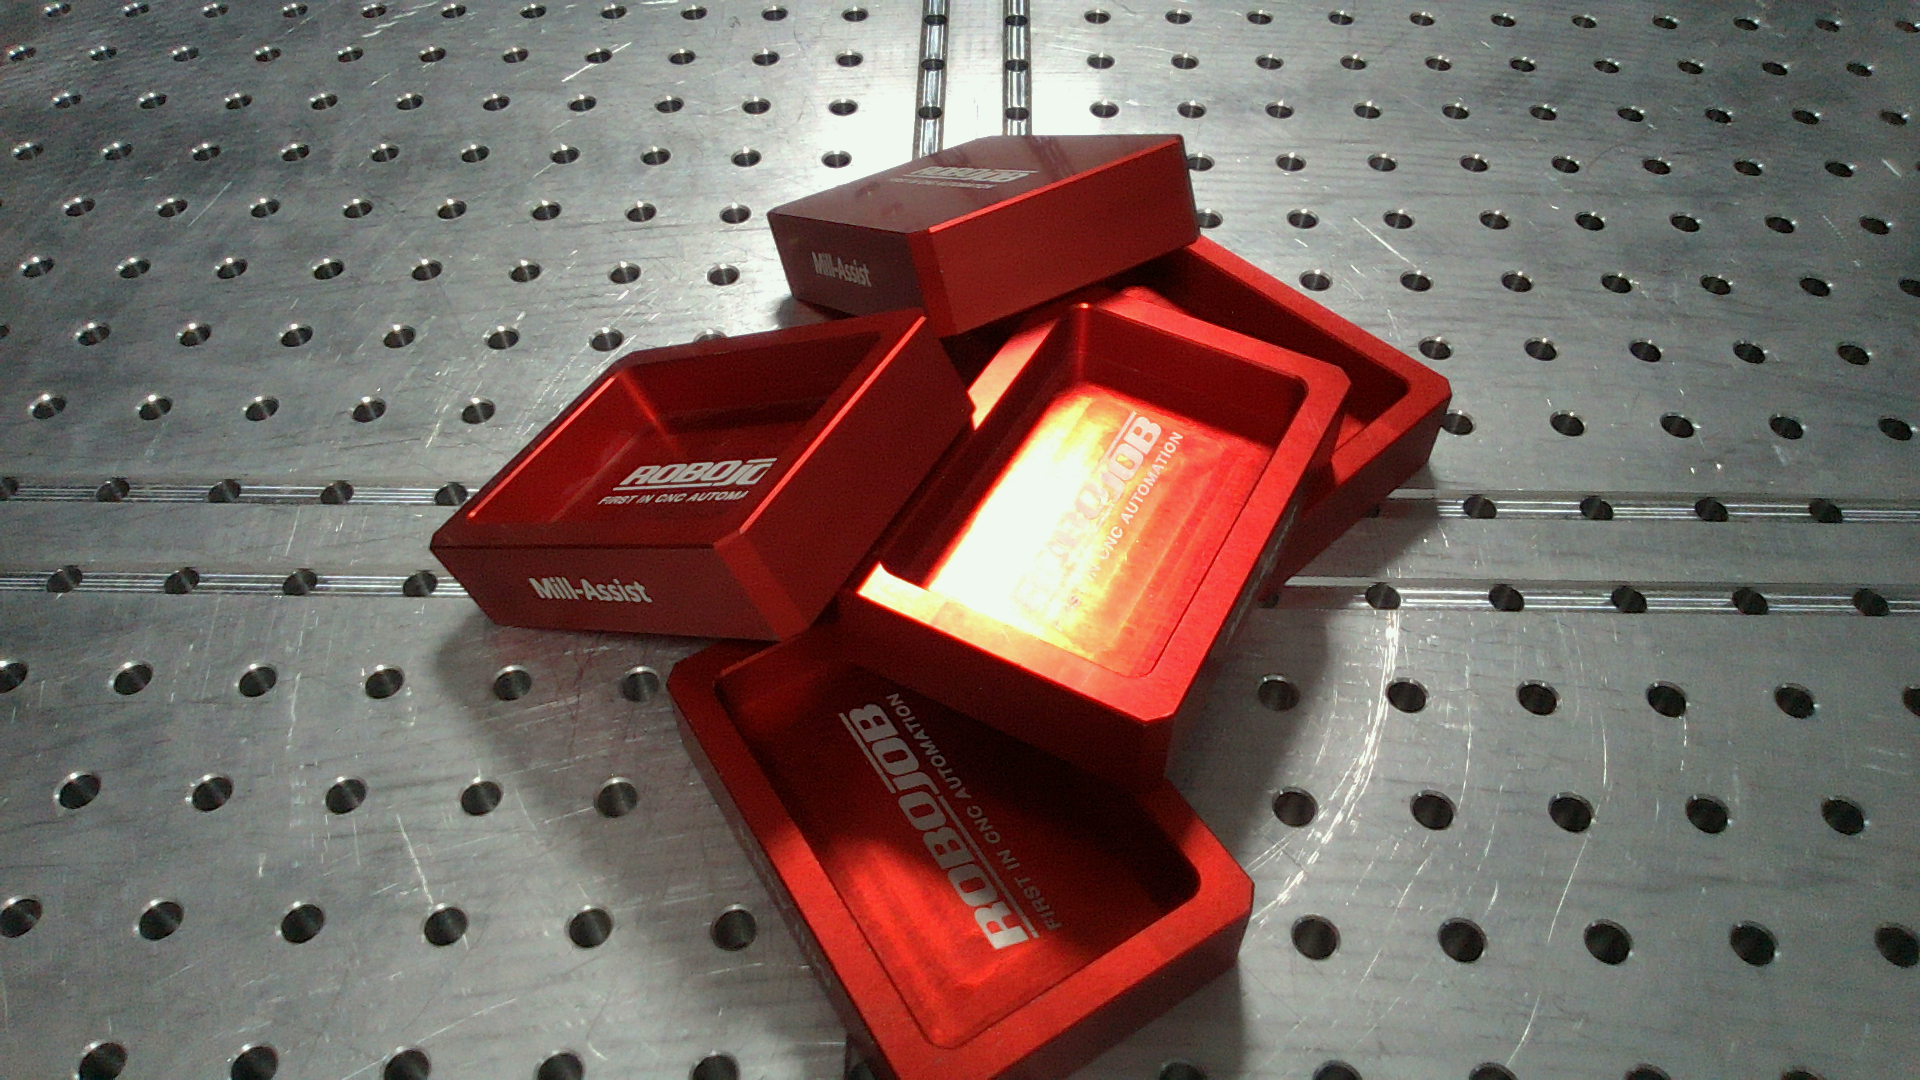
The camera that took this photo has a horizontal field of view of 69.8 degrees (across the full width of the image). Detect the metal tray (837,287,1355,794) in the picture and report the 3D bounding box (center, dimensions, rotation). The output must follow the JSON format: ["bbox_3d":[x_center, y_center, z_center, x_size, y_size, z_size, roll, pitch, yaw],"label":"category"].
[{"bbox_3d":[0.038,-0.008,0.359,0.090,0.030,0.130,23,53,18],"label":"metal tray"}]

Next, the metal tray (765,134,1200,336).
[{"bbox_3d":[0.002,-0.101,0.437,0.090,0.030,0.130,-24,24,-19],"label":"metal tray"}]

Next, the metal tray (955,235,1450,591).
[{"bbox_3d":[0.072,-0.049,0.432,0.090,0.030,0.130,-36,58,-26],"label":"metal tray"}]

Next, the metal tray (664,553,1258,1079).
[{"bbox_3d":[-0.003,0.066,0.335,0.090,0.030,0.130,-26,55,-20],"label":"metal tray"}]

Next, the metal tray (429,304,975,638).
[{"bbox_3d":[-0.071,-0.018,0.366,0.129,0.030,0.090,-1,42,41],"label":"metal tray"}]
